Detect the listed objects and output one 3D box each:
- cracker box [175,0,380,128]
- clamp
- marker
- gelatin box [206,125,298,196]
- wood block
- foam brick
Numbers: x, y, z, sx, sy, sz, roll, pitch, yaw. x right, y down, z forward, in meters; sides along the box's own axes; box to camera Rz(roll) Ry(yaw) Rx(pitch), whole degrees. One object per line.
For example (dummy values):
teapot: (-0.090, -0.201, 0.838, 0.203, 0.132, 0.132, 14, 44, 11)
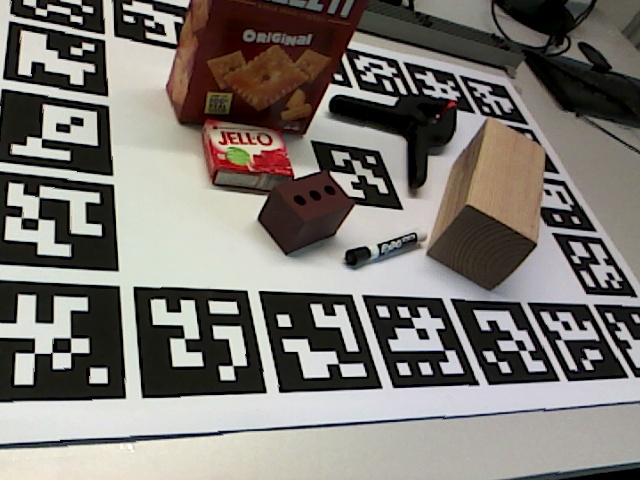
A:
cracker box: (-0.046, -0.224, 0.668, 0.163, 0.214, 0.072, 2, 52, -31)
clamp: (0.128, -0.157, 0.842, 0.166, 0.037, 0.202, 48, 46, 14)
marker: (0.066, 0.012, 0.670, 0.120, 0.020, 0.020, -16, 64, -38)
gelatin box: (-0.075, -0.086, 0.674, 0.089, 0.030, 0.073, 3, 53, -27)
wood block: (0.206, -0.049, 0.759, 0.090, 0.091, 0.206, 29, 42, -1)
foam brick: (-0.015, -0.026, 0.637, 0.077, 0.051, 0.053, -22, 68, -40)
